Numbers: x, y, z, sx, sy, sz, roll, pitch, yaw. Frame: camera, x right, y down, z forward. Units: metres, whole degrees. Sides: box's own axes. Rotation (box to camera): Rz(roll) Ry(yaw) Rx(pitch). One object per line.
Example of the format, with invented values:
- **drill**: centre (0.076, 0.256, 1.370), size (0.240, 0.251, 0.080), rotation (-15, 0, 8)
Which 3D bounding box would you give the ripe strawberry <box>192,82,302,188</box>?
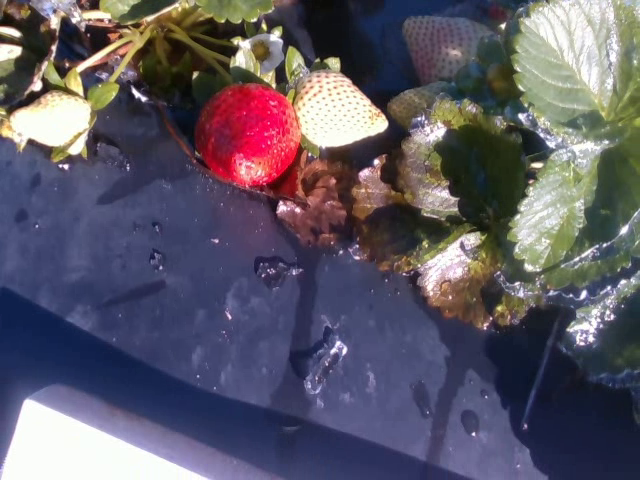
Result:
- **ripe strawberry**: centre (-0.024, -0.031, 0.206), size (0.040, 0.042, 0.053), rotation (-15, 29, 5)
